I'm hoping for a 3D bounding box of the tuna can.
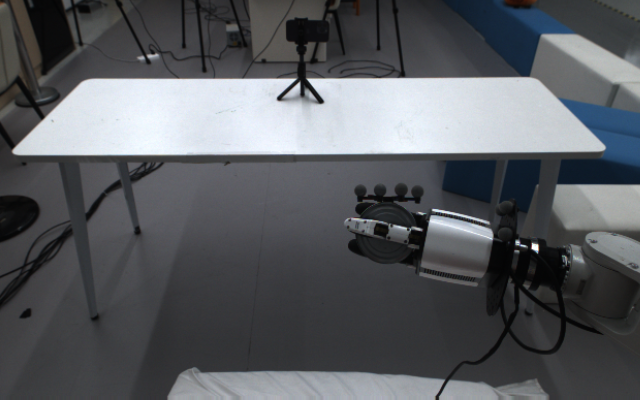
[{"bbox_3d":[0.095,0.045,0.674,0.085,0.085,0.034,13,-3,16],"label":"tuna can"}]
